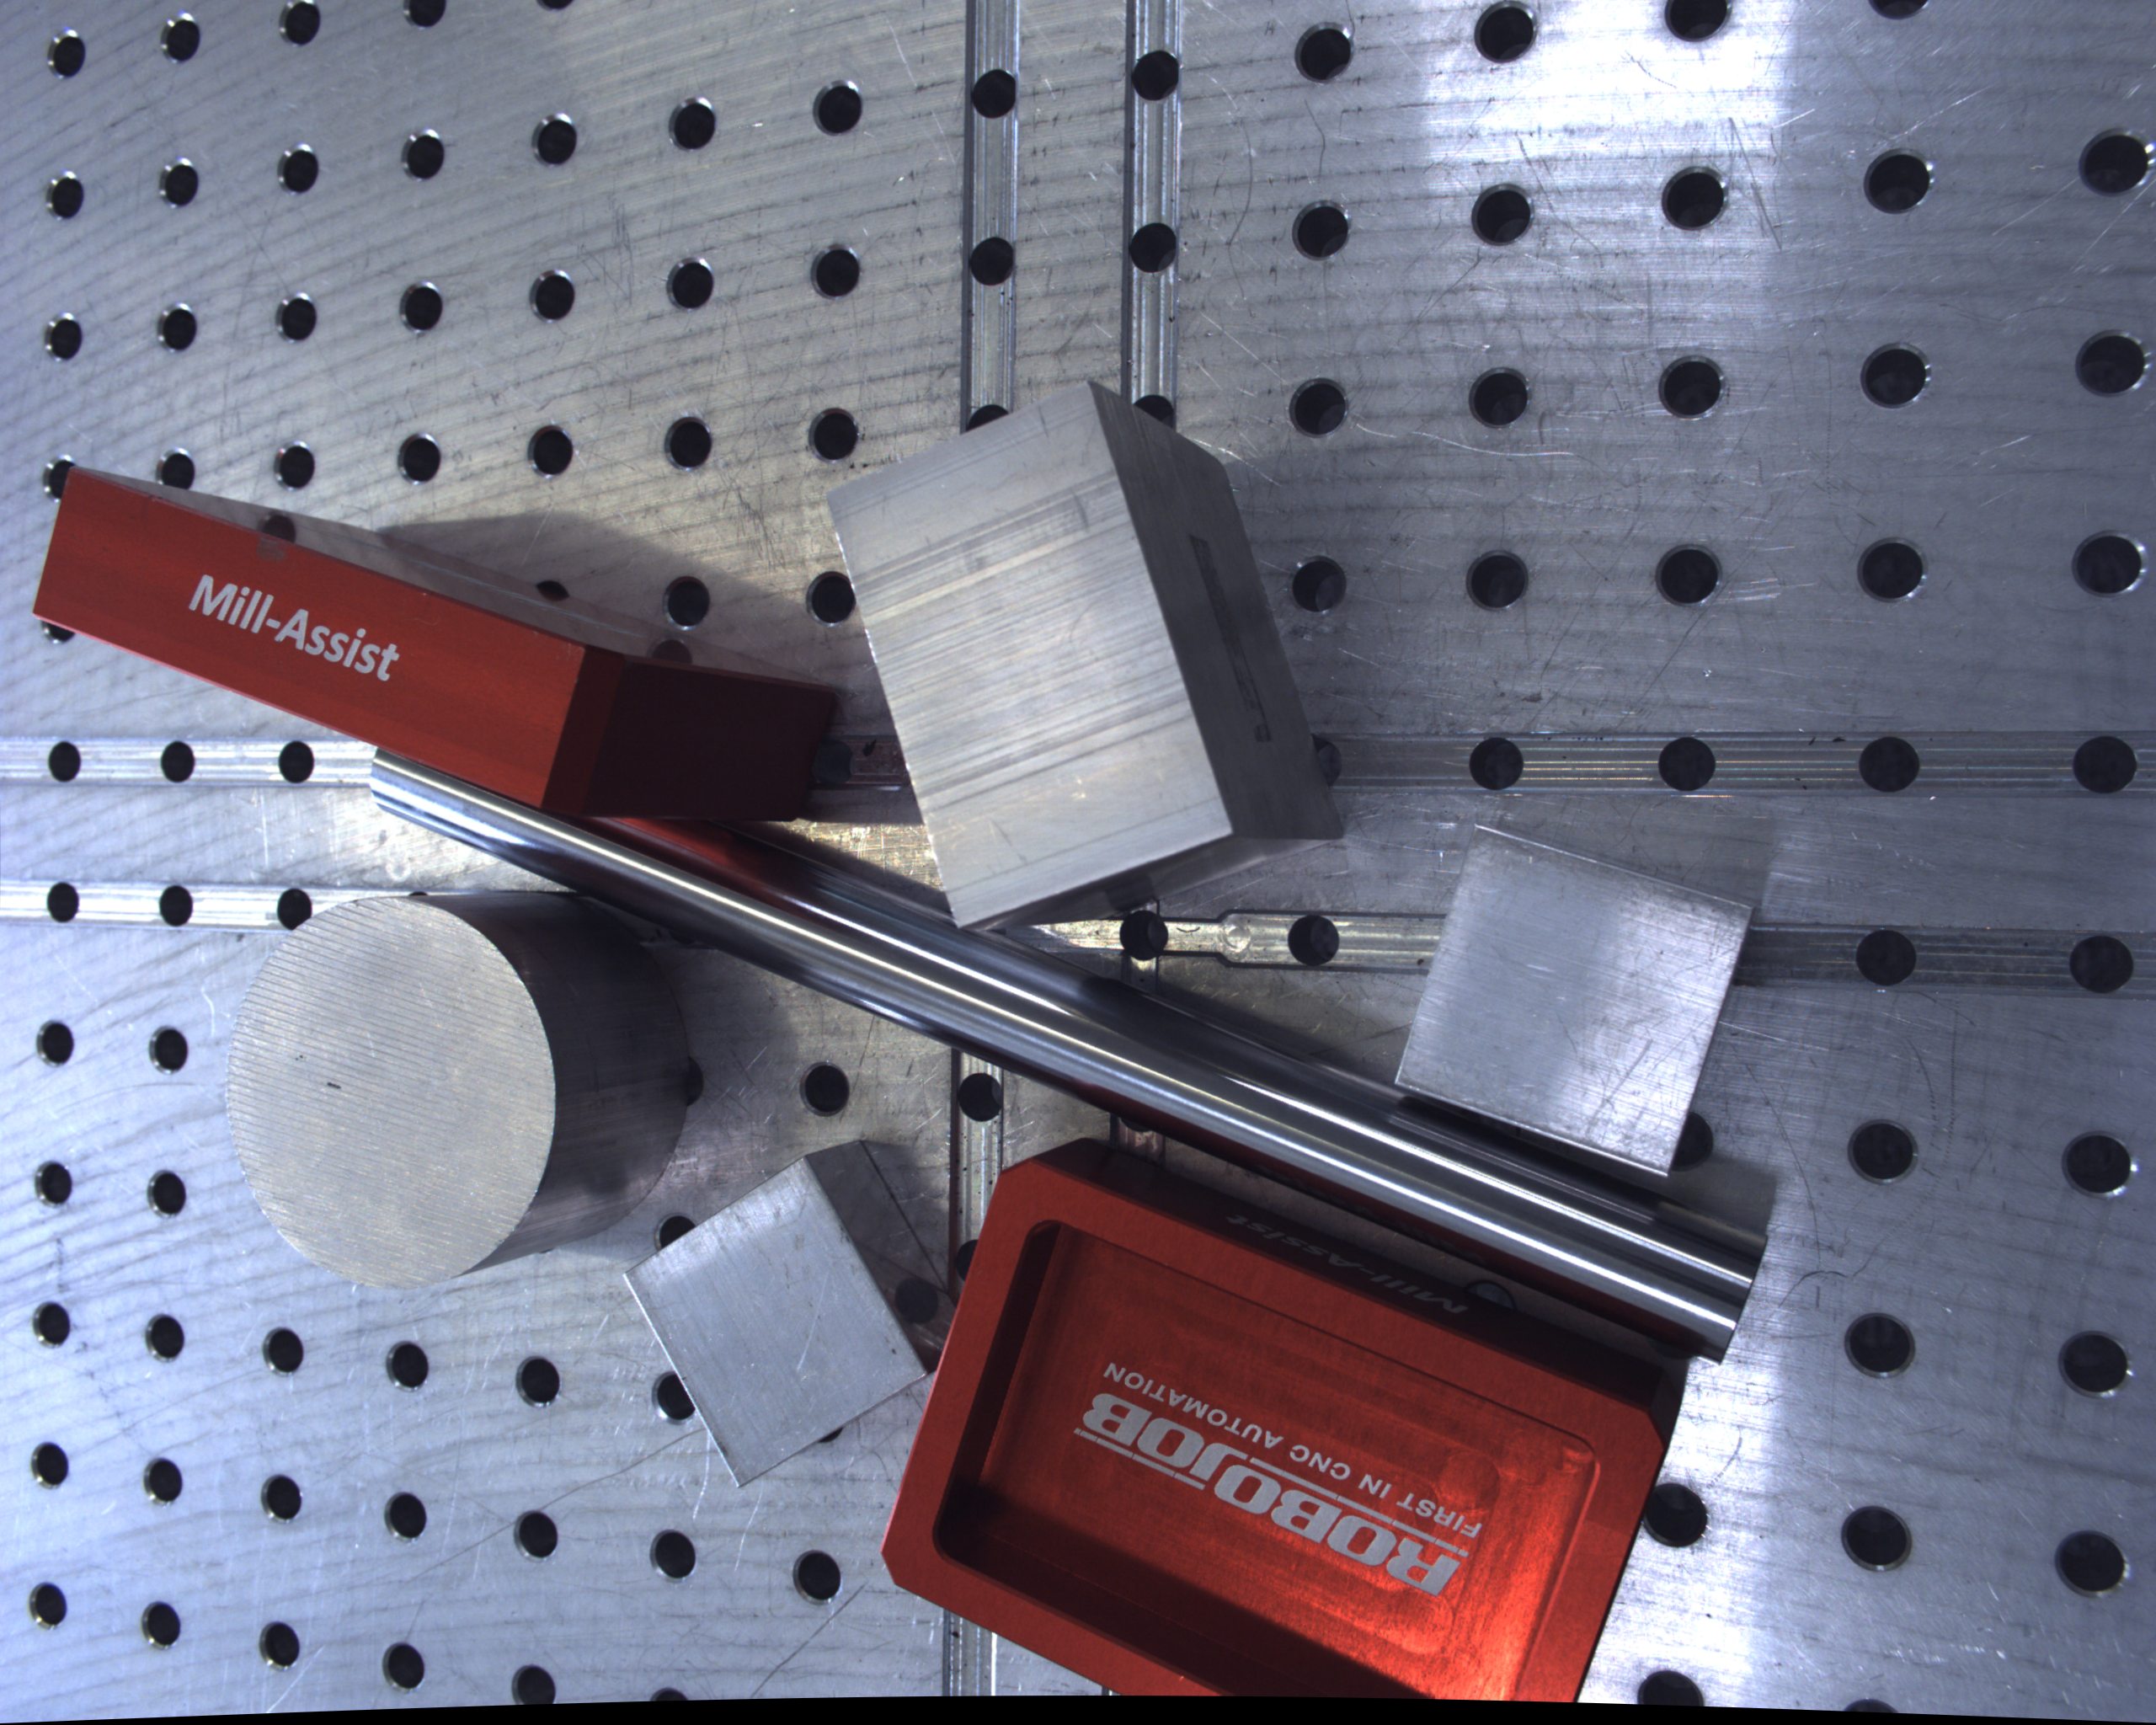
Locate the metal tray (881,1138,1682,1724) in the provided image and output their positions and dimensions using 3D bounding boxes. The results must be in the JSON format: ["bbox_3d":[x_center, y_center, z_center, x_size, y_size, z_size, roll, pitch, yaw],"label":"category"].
[{"bbox_3d":[0.036,0.117,0.396,0.130,0.030,0.089,19,97,18],"label":"metal tray"}]

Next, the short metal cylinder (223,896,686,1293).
[{"bbox_3d":[-0.132,0.047,0.445,0.080,0.050,0.080,0,90,20],"label":"short metal cylinder"}]

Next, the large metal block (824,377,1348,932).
[{"bbox_3d":[0.005,-0.034,0.383,0.050,0.080,0.080,-20,84,19],"label":"large metal block"}]

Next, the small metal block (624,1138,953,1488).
[{"bbox_3d":[-0.057,0.093,0.433,0.050,0.025,0.050,-34,79,16],"label":"small metal block"}]

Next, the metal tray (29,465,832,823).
[{"bbox_3d":[-0.128,-0.043,0.422,0.130,0.090,0.030,20,97,19],"label":"metal tray"}]

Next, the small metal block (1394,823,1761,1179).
[{"bbox_3d":[0.091,0.024,0.380,0.050,0.025,0.050,18,96,19],"label":"small metal block"}]

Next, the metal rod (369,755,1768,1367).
[{"bbox_3d":[-0.015,0.028,0.418,0.301,0.025,0.025,21,97,18],"label":"metal rod"}]
